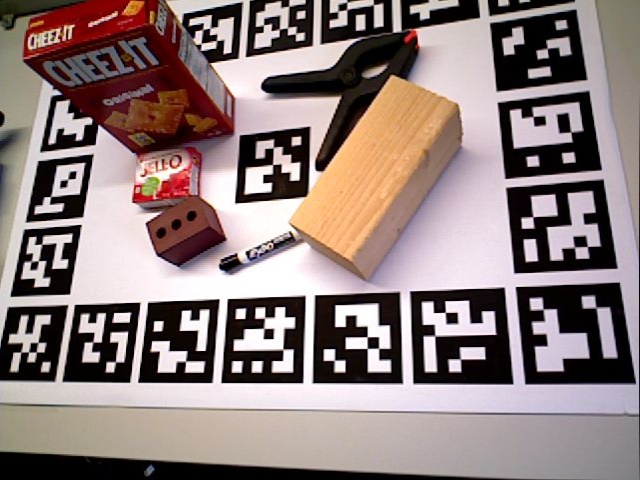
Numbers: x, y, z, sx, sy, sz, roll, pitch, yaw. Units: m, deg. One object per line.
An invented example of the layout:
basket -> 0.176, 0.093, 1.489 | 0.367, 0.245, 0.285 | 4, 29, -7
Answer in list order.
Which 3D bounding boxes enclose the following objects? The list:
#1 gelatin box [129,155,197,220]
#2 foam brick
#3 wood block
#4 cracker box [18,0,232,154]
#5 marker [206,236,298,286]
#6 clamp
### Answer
gelatin box -> -0.211, -0.069, 0.728 | 0.090, 0.030, 0.073 | -6, 73, 15
foam brick -> -0.175, 0.001, 0.681 | 0.078, 0.051, 0.052 | -29, 69, 6
wood block -> 0.064, -0.060, 0.609 | 0.090, 0.091, 0.205 | 31, 82, 25
cracker box -> -0.222, -0.197, 0.662 | 0.165, 0.215, 0.071 | -8, 69, 12
marker -> -0.085, 0.027, 0.661 | 0.121, 0.020, 0.019 | -24, 69, 9
clamp -> 0.032, -0.191, 0.684 | 0.203, 0.037, 0.164 | -35, 68, 5
